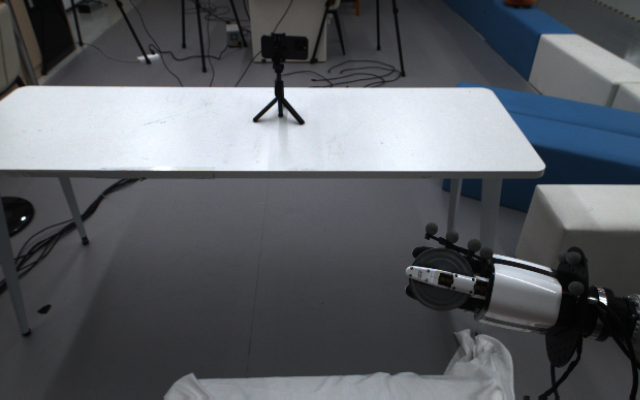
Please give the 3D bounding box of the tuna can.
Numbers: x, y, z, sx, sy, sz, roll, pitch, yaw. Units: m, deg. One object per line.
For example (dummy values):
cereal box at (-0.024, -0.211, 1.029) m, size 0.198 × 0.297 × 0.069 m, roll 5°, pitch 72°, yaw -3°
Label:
tuna can at (0.169, 0.106, 0.668) m, size 0.085 × 0.085 × 0.034 m, roll 14°, pitch -7°, yaw 16°
